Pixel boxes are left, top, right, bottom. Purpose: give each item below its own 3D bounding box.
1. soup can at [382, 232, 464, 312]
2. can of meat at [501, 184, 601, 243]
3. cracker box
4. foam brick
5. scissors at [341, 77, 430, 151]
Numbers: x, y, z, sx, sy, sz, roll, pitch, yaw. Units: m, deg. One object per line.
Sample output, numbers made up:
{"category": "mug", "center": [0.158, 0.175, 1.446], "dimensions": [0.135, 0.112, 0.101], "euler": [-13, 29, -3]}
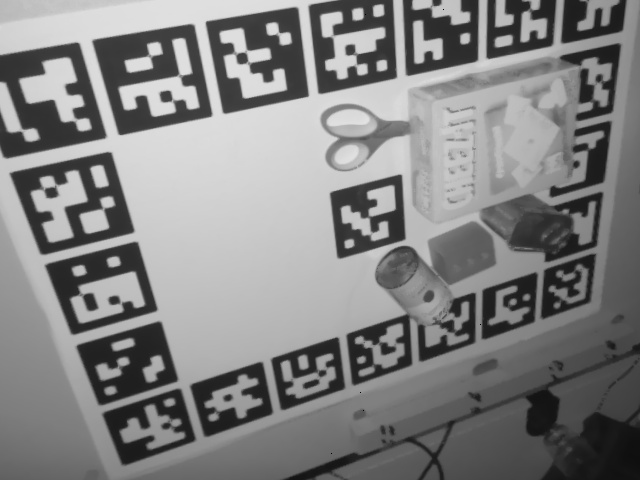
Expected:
{"category": "soup can", "center": [0.140, 0.045, 0.928], "dimensions": [0.068, 0.067, 0.102], "euler": [-46, 126, 4]}
{"category": "can of meat", "center": [0.308, -0.039, 0.933], "dimensions": [0.103, 0.083, 0.057], "euler": [1, 113, -20]}
{"category": "cracker box", "center": [0.248, -0.149, 0.852], "dimensions": [0.216, 0.071, 0.163], "euler": [-19, 120, -16]}
{"category": "foam brick", "center": [0.215, 0.002, 0.939], "dimensions": [0.078, 0.051, 0.052], "euler": [-22, 119, -10]}
{"category": "scissors", "center": [0.125, -0.168, 0.832], "dimensions": [0.204, 0.016, 0.087], "euler": [-17, 118, -13]}
